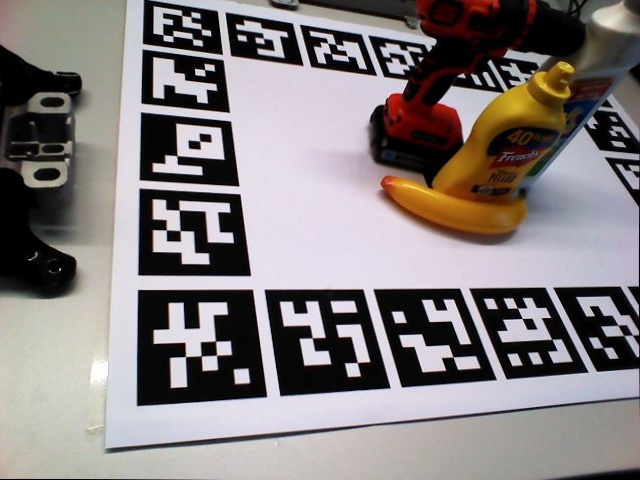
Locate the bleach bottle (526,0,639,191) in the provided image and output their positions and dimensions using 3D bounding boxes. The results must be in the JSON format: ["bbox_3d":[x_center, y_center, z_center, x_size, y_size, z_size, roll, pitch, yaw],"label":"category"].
[{"bbox_3d":[0.284,-0.167,0.595,0.102,0.252,0.067,4,49,-17],"label":"bleach bottle"}]

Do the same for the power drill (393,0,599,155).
[{"bbox_3d":[0.176,-0.179,0.570,0.184,0.188,0.057,13,52,-13],"label":"power drill"}]

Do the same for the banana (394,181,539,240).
[{"bbox_3d":[0.181,-0.036,0.606,0.197,0.039,0.074,4,56,-14],"label":"banana"}]

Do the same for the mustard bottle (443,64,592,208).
[{"bbox_3d":[0.220,-0.108,0.561,0.096,0.193,0.058,2,56,-19],"label":"mustard bottle"}]
